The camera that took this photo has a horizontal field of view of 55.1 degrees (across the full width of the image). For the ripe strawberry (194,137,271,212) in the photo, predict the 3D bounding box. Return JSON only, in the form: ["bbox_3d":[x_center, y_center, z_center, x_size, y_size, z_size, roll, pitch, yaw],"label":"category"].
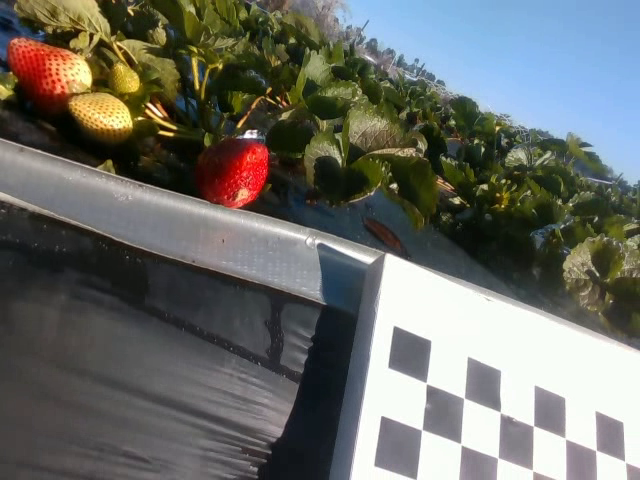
[{"bbox_3d":[-0.037,-0.031,0.256,0.036,0.038,0.045,20,-19,-15],"label":"ripe strawberry"}]
